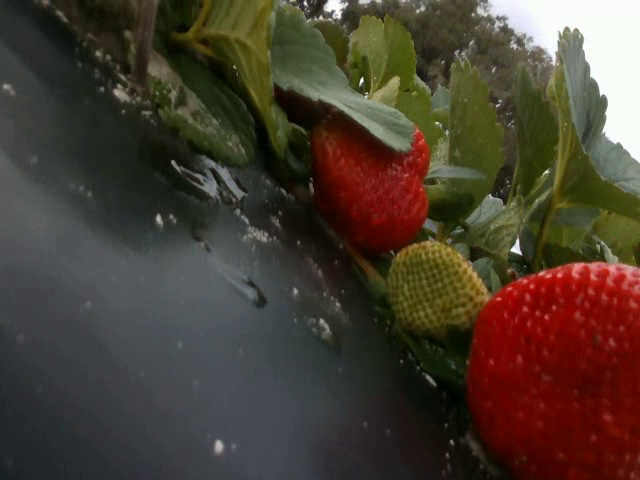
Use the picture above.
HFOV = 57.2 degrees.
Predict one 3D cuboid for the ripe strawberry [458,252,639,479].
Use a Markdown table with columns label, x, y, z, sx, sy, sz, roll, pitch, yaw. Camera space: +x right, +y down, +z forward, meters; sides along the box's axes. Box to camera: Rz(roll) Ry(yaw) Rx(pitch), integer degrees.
| label | x | y | z | sx | sy | sz | roll | pitch | yaw |
| --- | --- | --- | --- | --- | --- | --- | --- | --- | --- |
| ripe strawberry | 0.063 | 0.028 | 0.133 | 0.057 | 0.056 | 0.065 | -4 | -22 | -14 |
